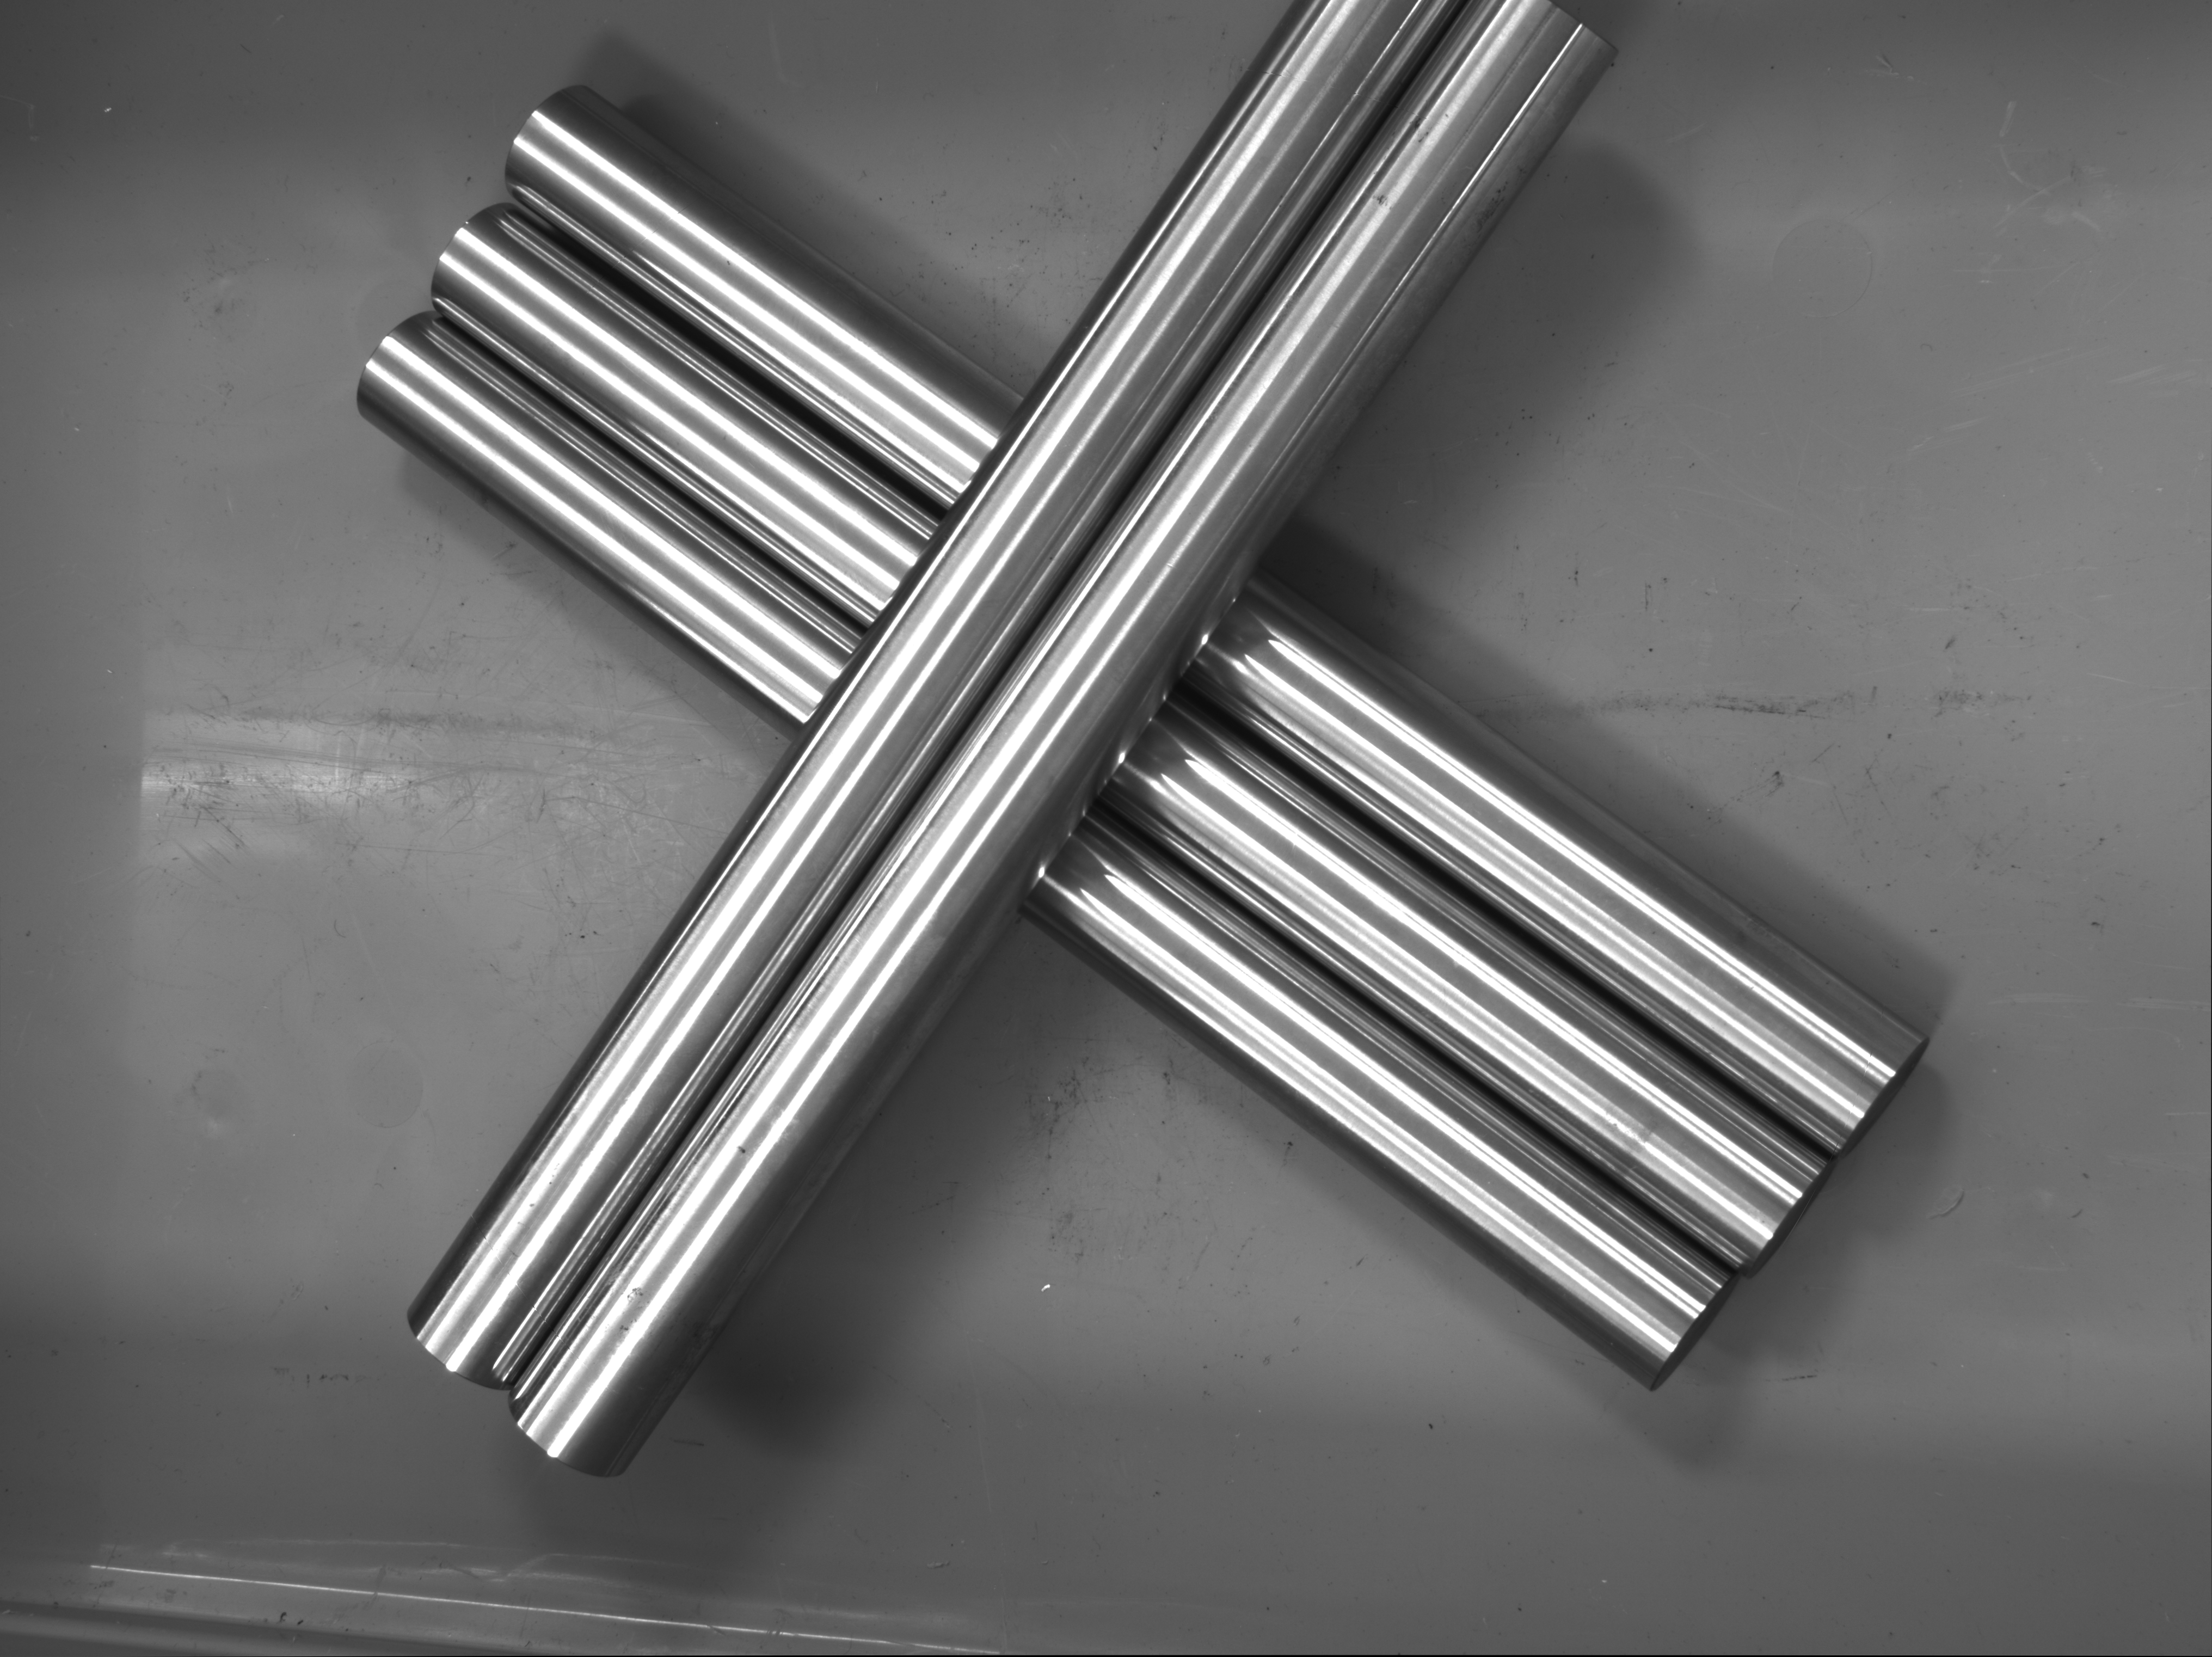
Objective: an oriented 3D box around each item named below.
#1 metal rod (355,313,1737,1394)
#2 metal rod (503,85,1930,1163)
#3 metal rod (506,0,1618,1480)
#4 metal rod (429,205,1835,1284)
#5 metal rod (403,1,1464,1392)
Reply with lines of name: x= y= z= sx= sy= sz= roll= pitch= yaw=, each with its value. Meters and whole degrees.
metal rod: x=-0.017 y=-0.002 z=0.651 sx=0.299 sy=0.025 sz=0.025 roll=37 pitch=102 yaw=16
metal rod: x=0.012 y=-0.041 z=0.641 sx=0.299 sy=0.025 sz=0.025 roll=37 pitch=102 yaw=16
metal rod: x=-0.012 y=-0.012 z=0.623 sx=0.025 sy=0.025 sz=0.300 roll=39 pitch=102 yaw=16
metal rod: x=-0.002 y=-0.021 z=0.646 sx=0.299 sy=0.025 sz=0.025 roll=37 pitch=102 yaw=16
metal rod: x=-0.031 y=-0.027 z=0.630 sx=0.025 sy=0.025 sz=0.300 roll=39 pitch=102 yaw=16
